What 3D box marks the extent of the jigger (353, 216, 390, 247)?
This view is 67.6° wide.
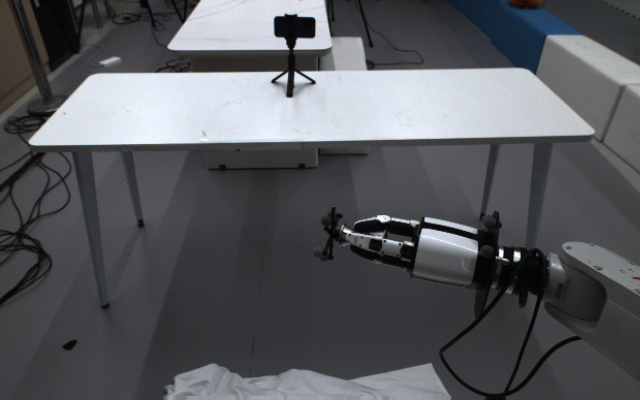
[{"bbox_3d":[0.073,0.056,0.751,0.071,0.043,0.043,8,35,16],"label":"jigger"}]
